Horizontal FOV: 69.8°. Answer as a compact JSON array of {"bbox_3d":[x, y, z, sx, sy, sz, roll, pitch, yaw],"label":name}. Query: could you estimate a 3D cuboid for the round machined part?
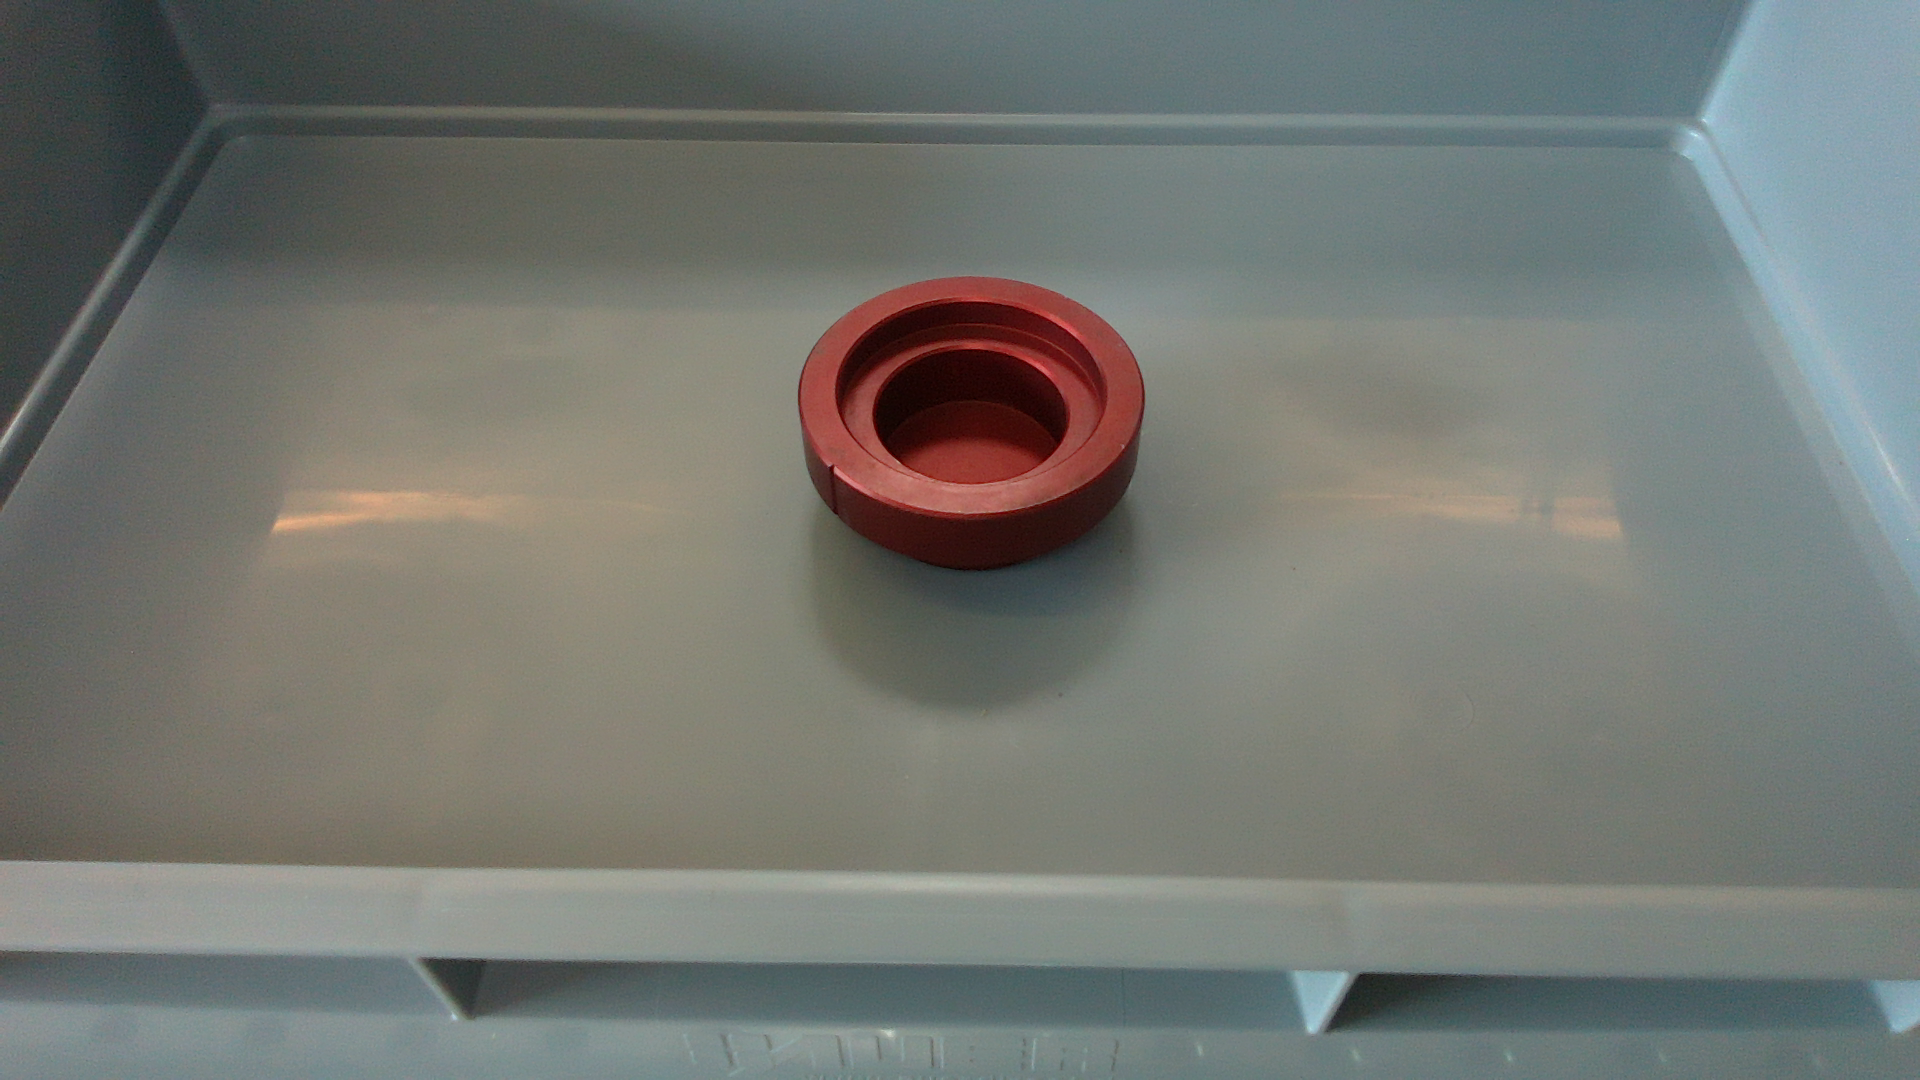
[{"bbox_3d":[0.003,-0.030,0.402,0.098,0.042,0.098,0,50,0],"label":"round machined part"}]
